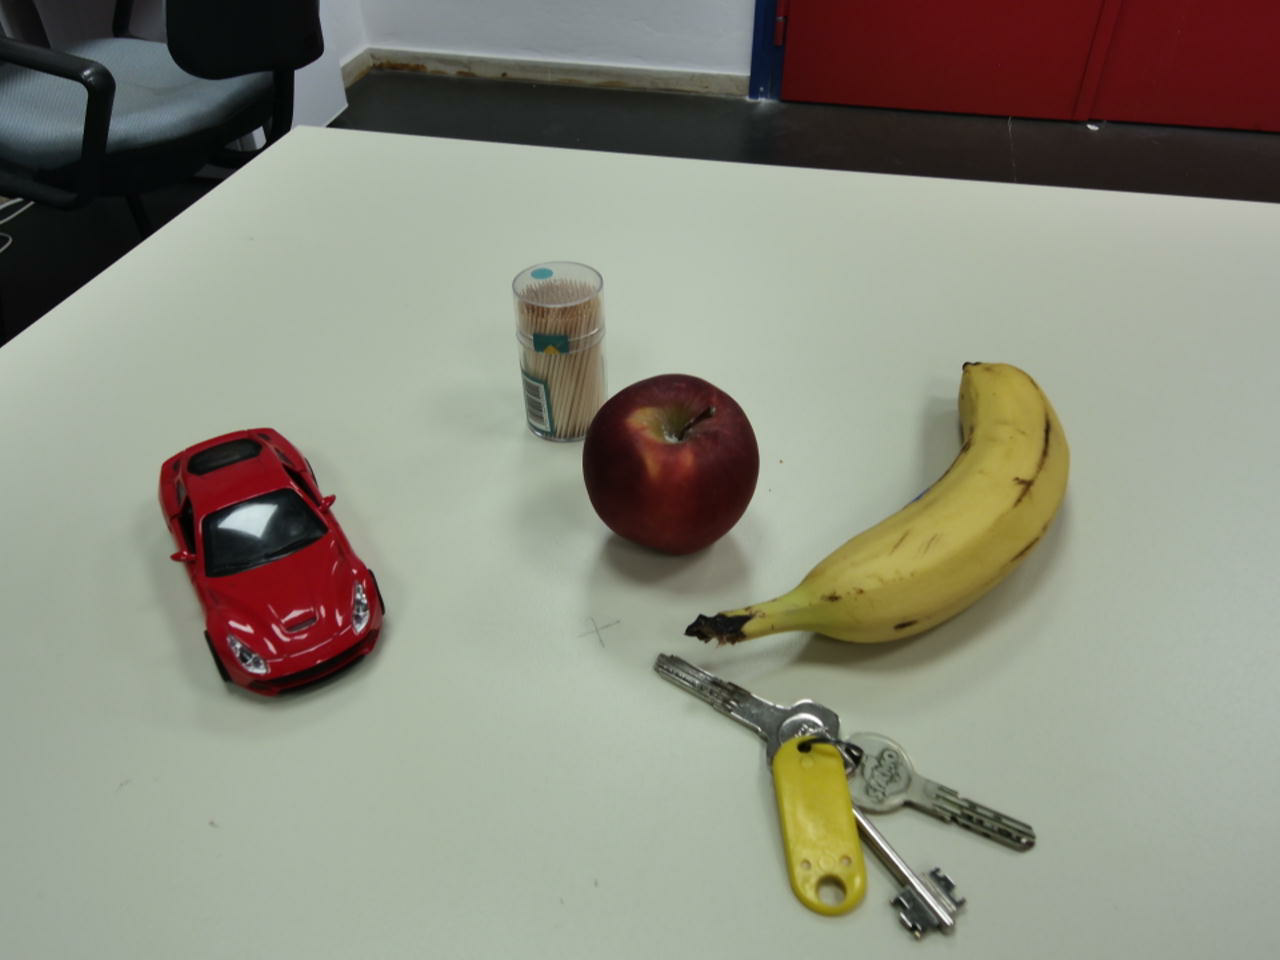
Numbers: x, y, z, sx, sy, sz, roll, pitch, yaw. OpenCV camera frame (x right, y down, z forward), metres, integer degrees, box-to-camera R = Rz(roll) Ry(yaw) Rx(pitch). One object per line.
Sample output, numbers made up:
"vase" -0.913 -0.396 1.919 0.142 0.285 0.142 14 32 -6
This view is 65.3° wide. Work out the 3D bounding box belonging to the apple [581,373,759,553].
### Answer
"apple" 0.012 -0.005 0.390 0.070 0.072 0.070 1 38 -1
